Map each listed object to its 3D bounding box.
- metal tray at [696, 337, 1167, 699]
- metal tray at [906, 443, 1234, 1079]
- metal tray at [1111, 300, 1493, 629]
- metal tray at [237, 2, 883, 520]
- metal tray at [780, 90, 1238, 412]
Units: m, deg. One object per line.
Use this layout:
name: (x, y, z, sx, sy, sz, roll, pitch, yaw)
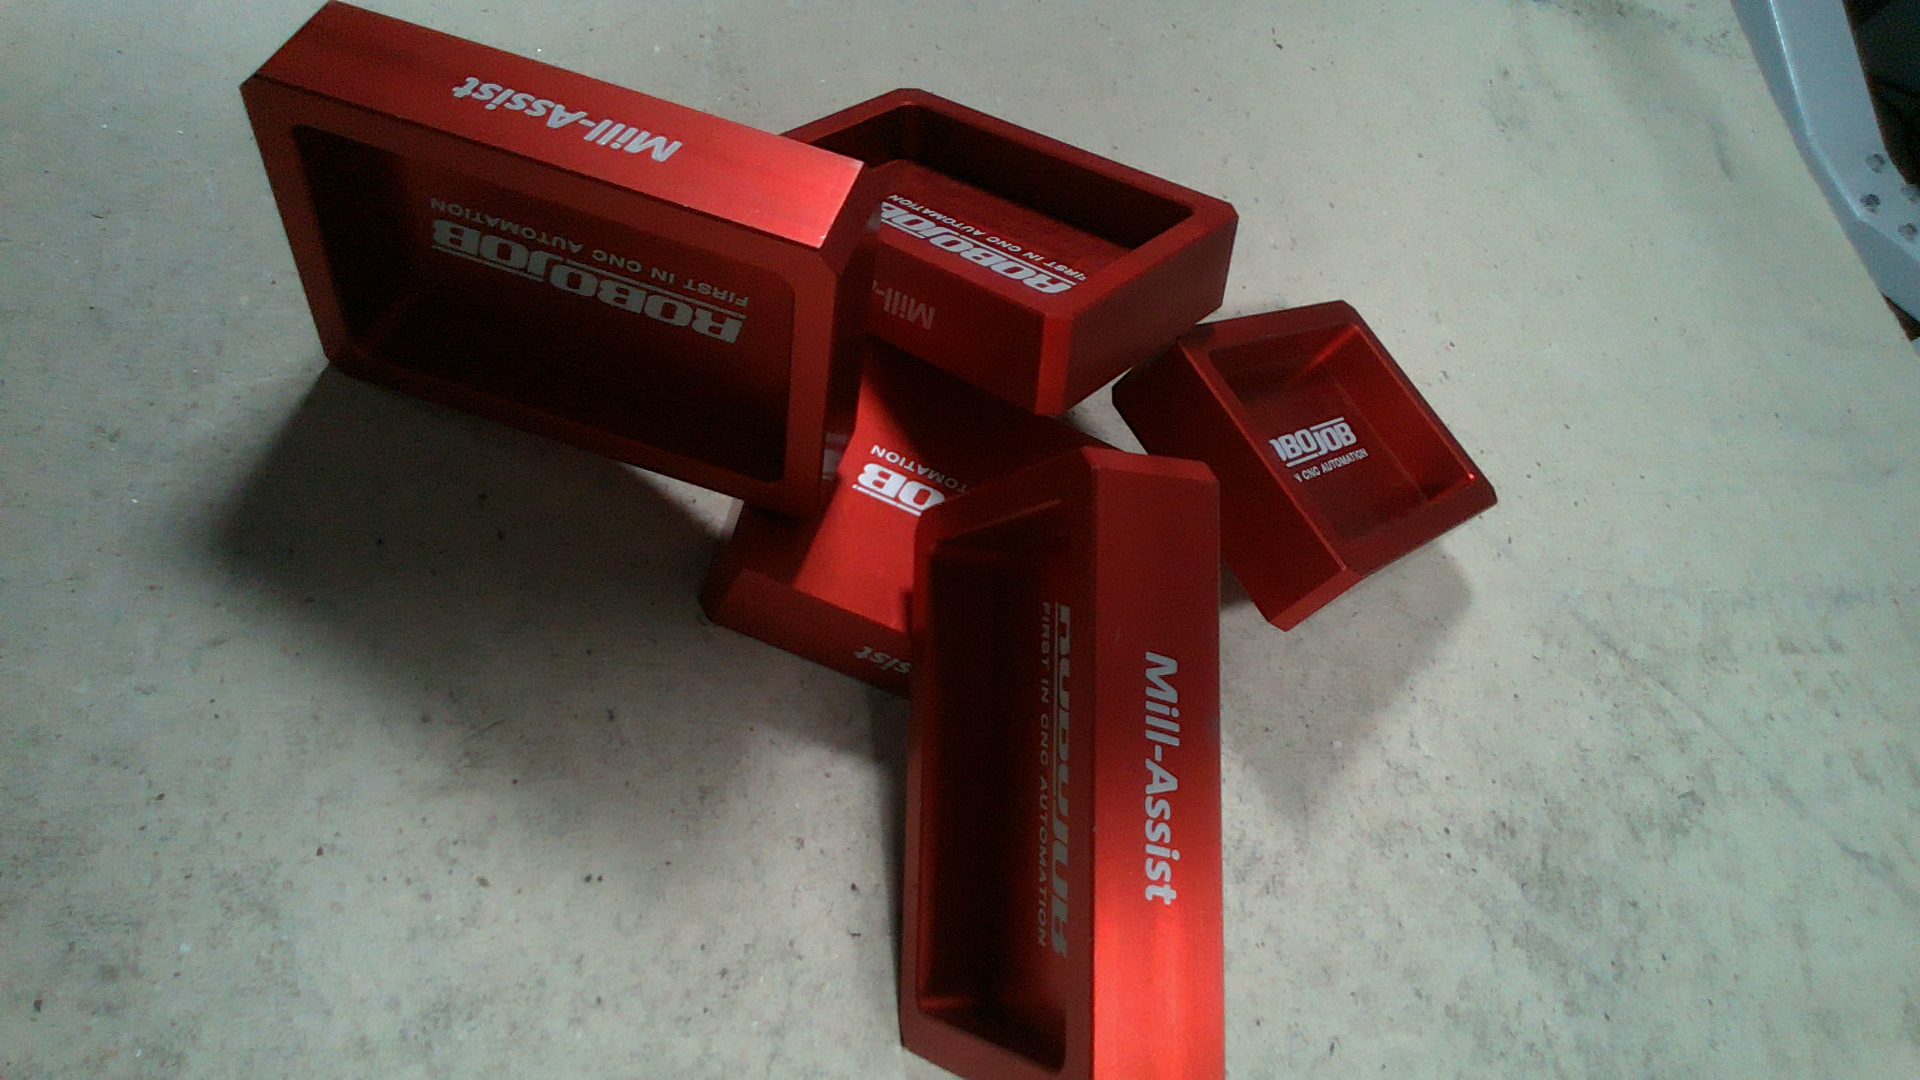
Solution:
metal tray: (0.002, 0.002, 0.386, 0.130, 0.030, 0.090, 23, 53, -14)
metal tray: (0.020, 0.052, 0.302, 0.030, 0.090, 0.130, 5, 80, -25)
metal tray: (0.115, -0.030, 0.446, 0.131, 0.030, 0.090, -18, 70, -50)
metal tray: (-0.088, -0.060, 0.318, 0.130, 0.090, 0.030, 18, 53, 3)
metal tray: (0.003, -0.091, 0.406, 0.130, 0.030, 0.090, 29, 45, 28)
